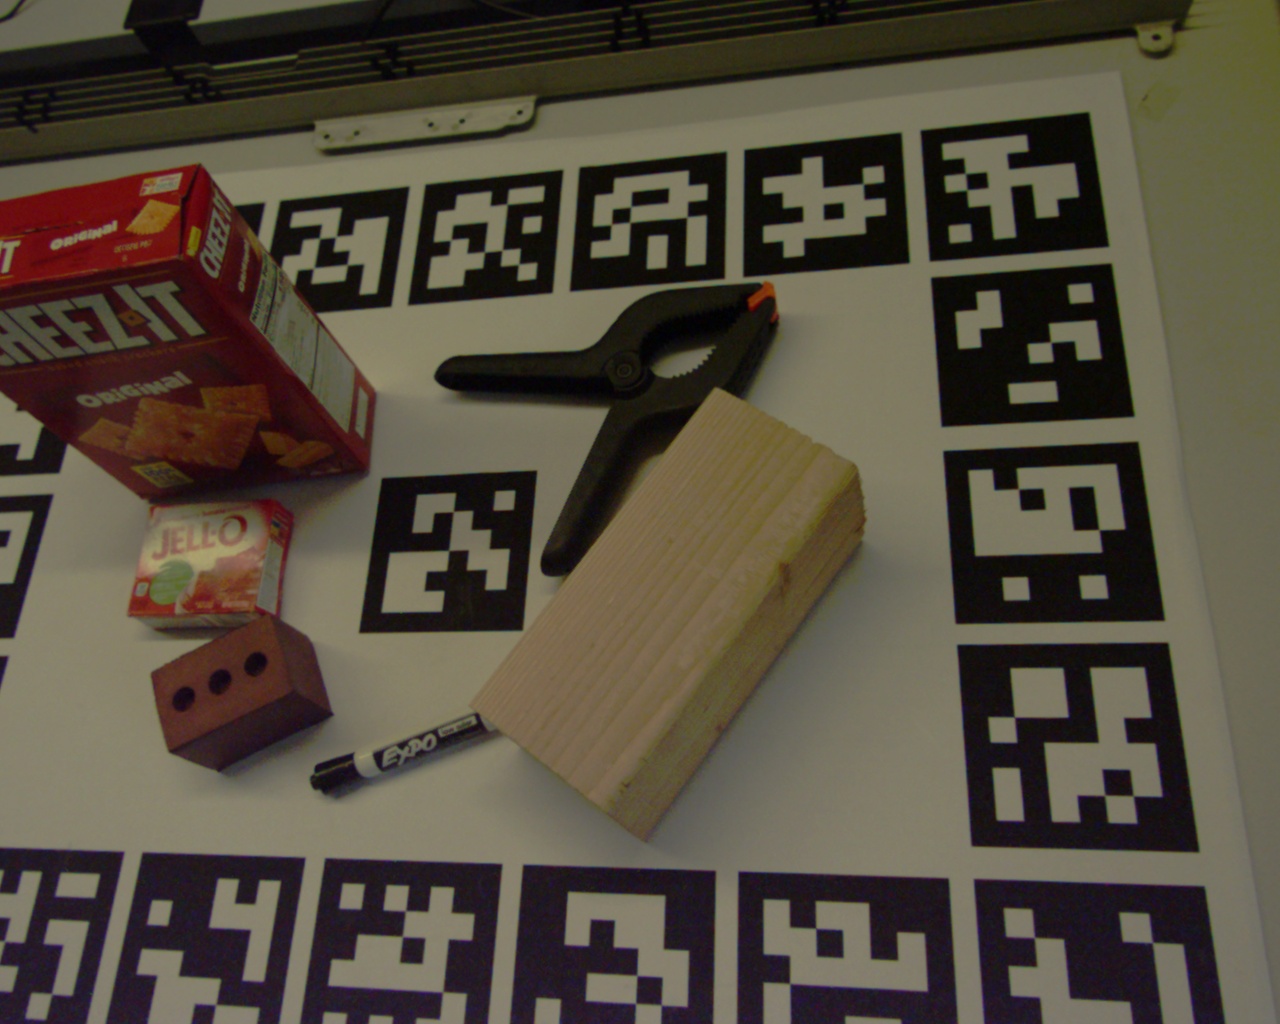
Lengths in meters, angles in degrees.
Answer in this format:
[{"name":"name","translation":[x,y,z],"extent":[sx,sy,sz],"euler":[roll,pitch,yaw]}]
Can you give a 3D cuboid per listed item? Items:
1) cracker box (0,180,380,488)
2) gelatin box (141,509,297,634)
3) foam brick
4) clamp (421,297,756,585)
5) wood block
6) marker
[{"name":"cracker box","translation":[-0.271,-0.091,0.674],"extent":[0.165,0.212,0.072],"euler":[-5,66,9]},{"name":"gelatin box","translation":[-0.269,0.038,0.729],"extent":[0.090,0.030,0.073],"euler":[-3,69,13]},{"name":"foam brick","translation":[-0.236,0.108,0.677],"extent":[0.078,0.051,0.053],"euler":[-25,67,3]},{"name":"clamp","translation":[-0.018,-0.070,0.704],"extent":[0.203,0.036,0.167],"euler":[-31,65,0]},{"name":"wood block","translation":[0.009,0.060,0.619],"extent":[0.091,0.090,0.206],"euler":[32,76,25]},{"name":"marker","translation":[-0.146,0.138,0.659],"extent":[0.121,0.019,0.020],"euler":[-21,67,5]}]
